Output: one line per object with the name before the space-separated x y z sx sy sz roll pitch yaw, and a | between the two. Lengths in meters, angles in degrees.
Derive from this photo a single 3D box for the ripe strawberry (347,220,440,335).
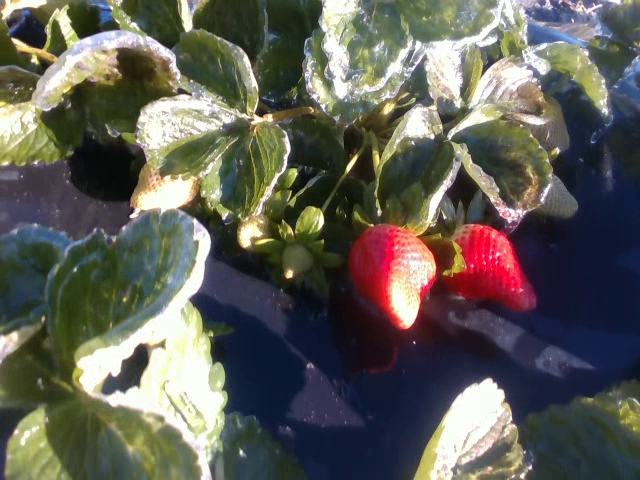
ripe strawberry | 0.045 0.022 0.330 0.052 0.070 0.040 18 -36 -19

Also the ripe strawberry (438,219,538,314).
ripe strawberry | 0.097 0.012 0.342 0.043 0.059 0.040 -33 -15 -29
